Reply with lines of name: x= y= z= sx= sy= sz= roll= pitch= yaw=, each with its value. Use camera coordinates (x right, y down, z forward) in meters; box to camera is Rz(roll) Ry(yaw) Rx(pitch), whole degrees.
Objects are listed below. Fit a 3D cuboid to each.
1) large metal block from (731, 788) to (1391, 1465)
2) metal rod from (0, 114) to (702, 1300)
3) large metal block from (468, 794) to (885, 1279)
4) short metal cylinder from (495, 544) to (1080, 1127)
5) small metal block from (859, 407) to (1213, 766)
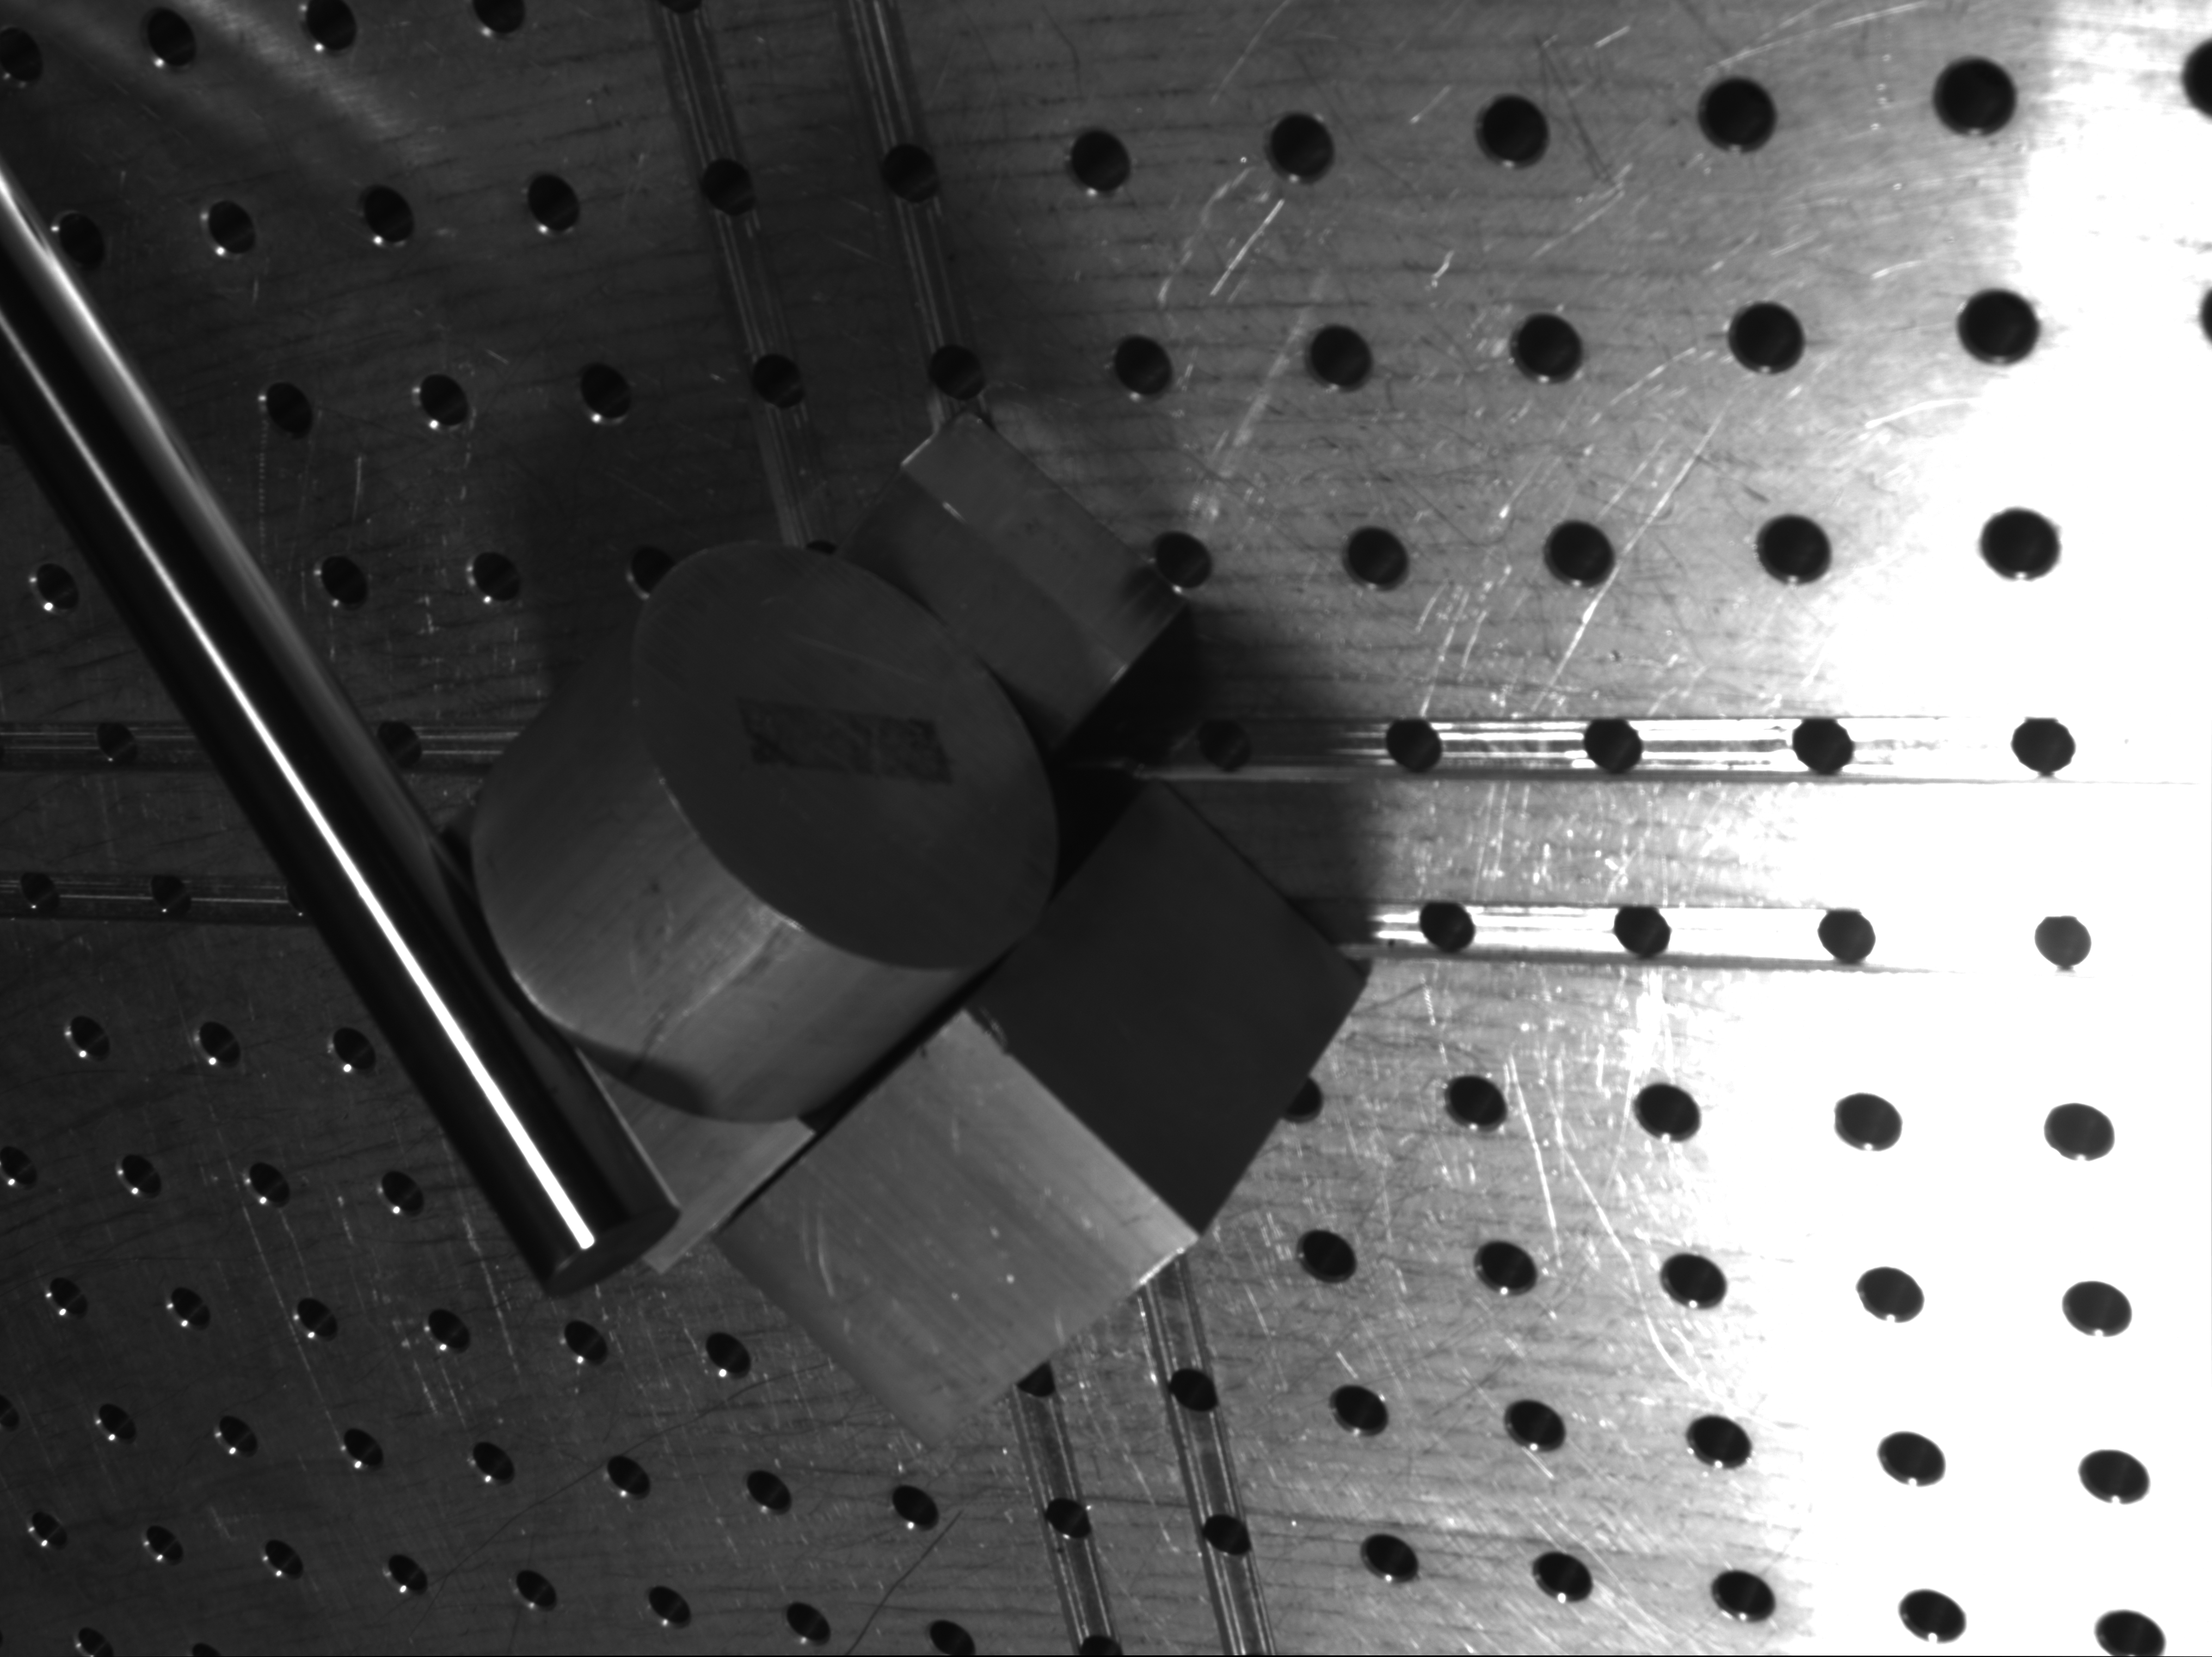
large metal block: x=-0.007 y=0.051 z=0.631 sx=0.050 sy=0.080 sz=0.080 roll=44 pitch=128 yaw=-3
metal rod: x=-0.157 y=-0.052 z=0.615 sx=0.300 sy=0.025 sz=0.025 roll=55 pitch=130 yaw=15
large metal block: x=-0.070 y=0.017 z=0.646 sx=0.080 sy=0.080 sz=0.050 roll=44 pitch=128 yaw=-3
short metal cylinder: x=-0.051 y=0.001 z=0.593 sx=0.080 sy=0.080 sz=0.050 roll=45 pitch=128 yaw=-4
small metal block: x=-0.019 y=-0.034 z=0.624 sx=0.050 sy=0.025 sz=0.050 roll=41 pitch=128 yaw=-1
